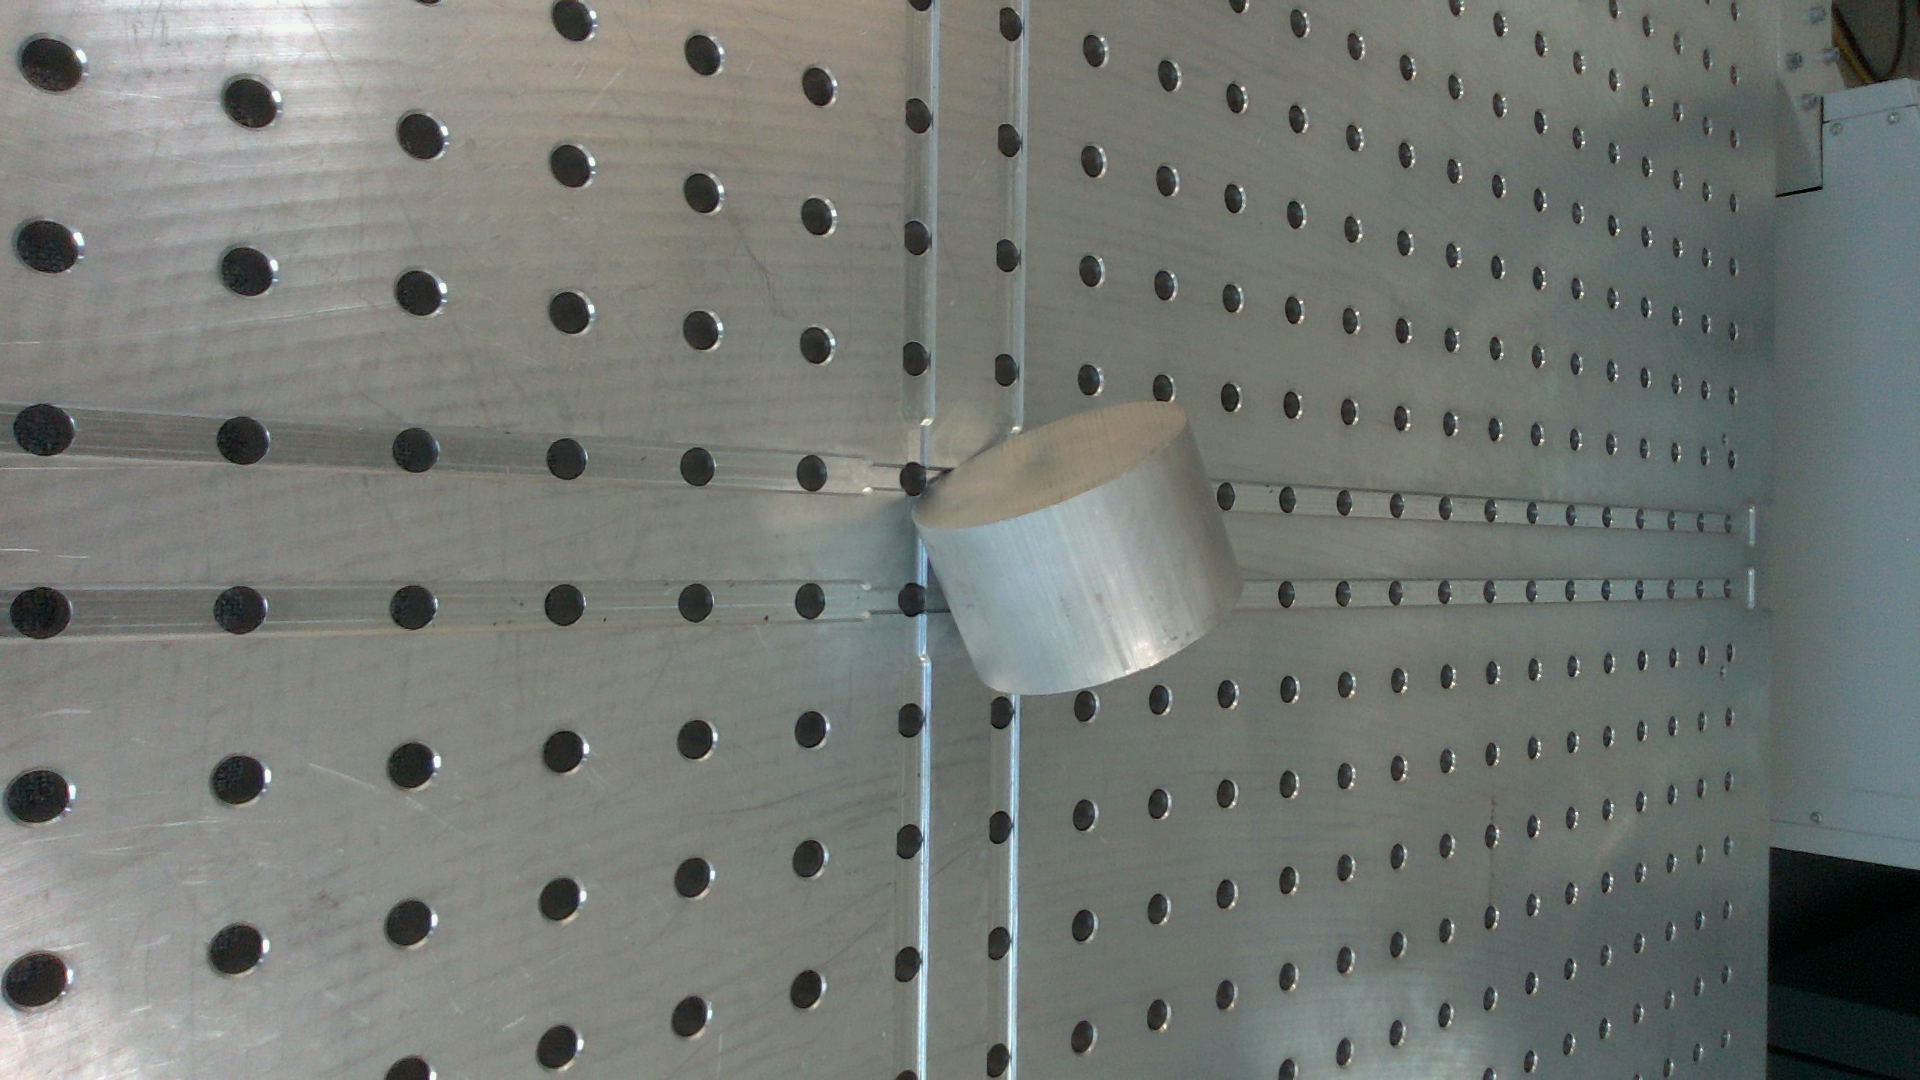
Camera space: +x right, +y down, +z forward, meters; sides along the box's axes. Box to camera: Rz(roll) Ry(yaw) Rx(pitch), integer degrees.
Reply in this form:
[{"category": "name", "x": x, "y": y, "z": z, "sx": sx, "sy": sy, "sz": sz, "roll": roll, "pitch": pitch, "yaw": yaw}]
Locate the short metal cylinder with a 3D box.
[{"category": "short metal cylinder", "x": 0.033, "y": 0.000, "z": 0.382, "sx": 0.080, "sy": 0.080, "sz": 0.050, "roll": -35, "pitch": 111, "yaw": -34}]
